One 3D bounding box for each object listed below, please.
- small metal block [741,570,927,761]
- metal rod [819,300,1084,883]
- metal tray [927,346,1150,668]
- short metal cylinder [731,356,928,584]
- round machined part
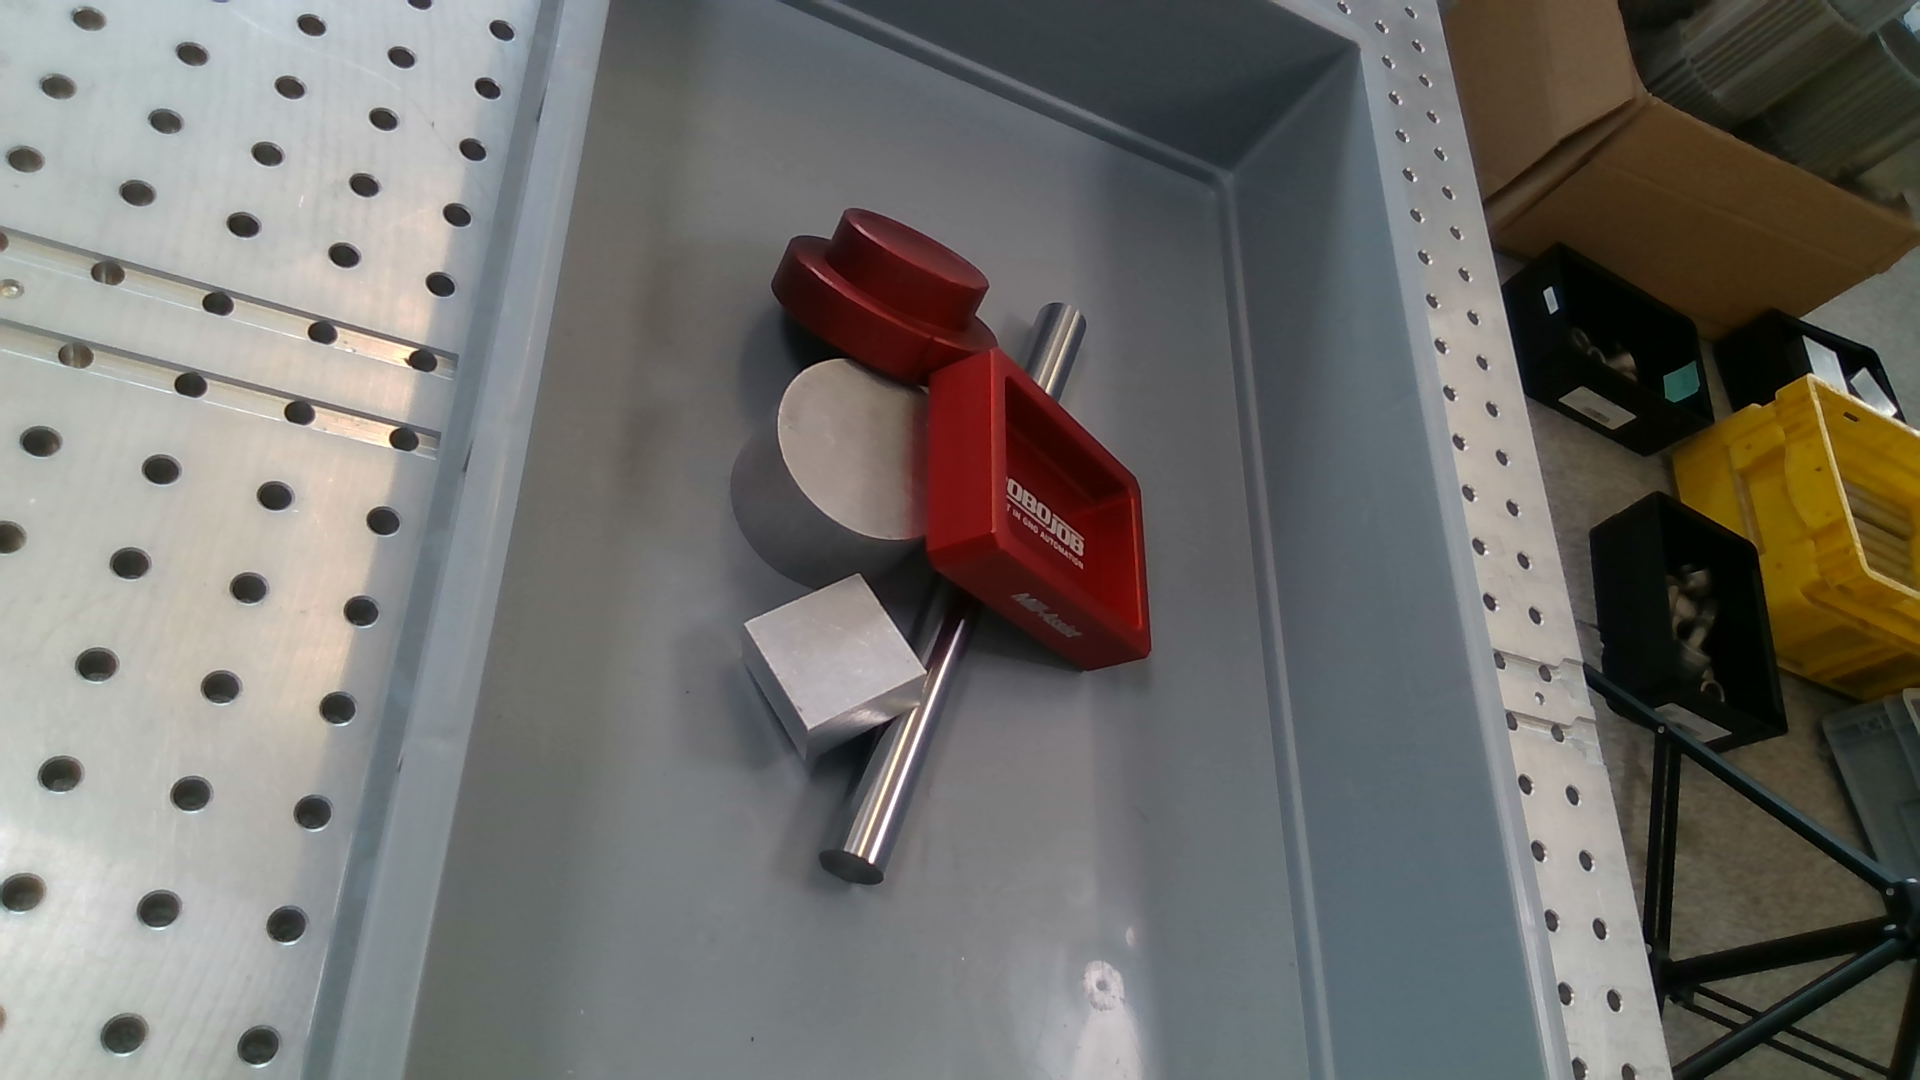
[{"bbox_3d":[-0.048,0.046,0.516,0.050,0.025,0.050,-25,63,-22],"label":"small metal block"},{"bbox_3d":[0.005,0.005,0.585,0.025,0.025,0.299,32,53,-14],"label":"metal rod"},{"bbox_3d":[0.035,-0.010,0.571,0.130,0.030,0.090,36,46,-48],"label":"metal tray"},{"bbox_3d":[-0.046,-0.026,0.555,0.080,0.050,0.080,14,59,-25],"label":"short metal cylinder"},{"bbox_3d":[-0.027,-0.106,0.584,0.098,0.042,0.098,26,21,-11],"label":"round machined part"}]
